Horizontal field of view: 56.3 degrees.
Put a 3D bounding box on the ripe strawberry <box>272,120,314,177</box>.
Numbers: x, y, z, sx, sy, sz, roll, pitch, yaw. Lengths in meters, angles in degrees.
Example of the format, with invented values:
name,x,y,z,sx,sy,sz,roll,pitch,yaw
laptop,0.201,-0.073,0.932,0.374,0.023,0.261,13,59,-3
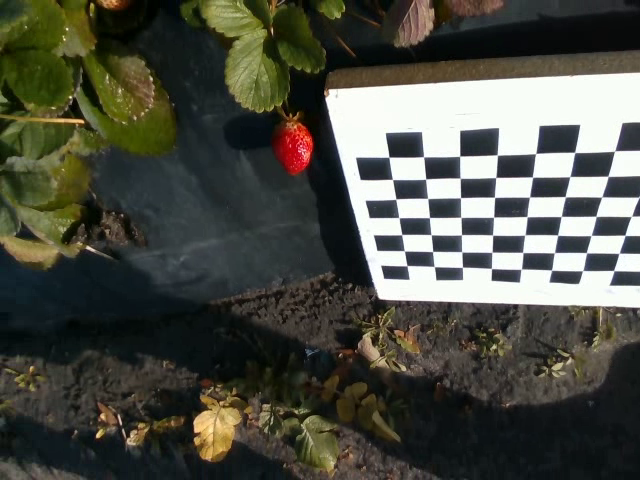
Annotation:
name,x,y,z,sx,sy,sz,roll,pitch,yaw
ripe strawberry,-0.016,-0.056,0.367,0.034,0.038,0.033,0,4,16
